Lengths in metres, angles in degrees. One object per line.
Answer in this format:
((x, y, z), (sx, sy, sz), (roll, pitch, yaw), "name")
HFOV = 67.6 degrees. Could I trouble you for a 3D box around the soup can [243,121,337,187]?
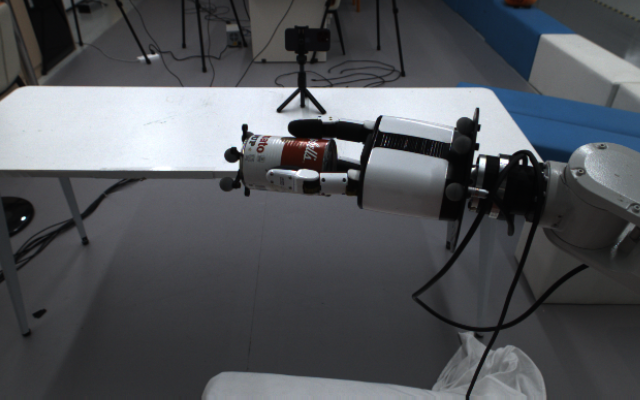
((-0.033, -0.041, 0.575), (0.101, 0.067, 0.067), (5, 35, 12), "soup can")
